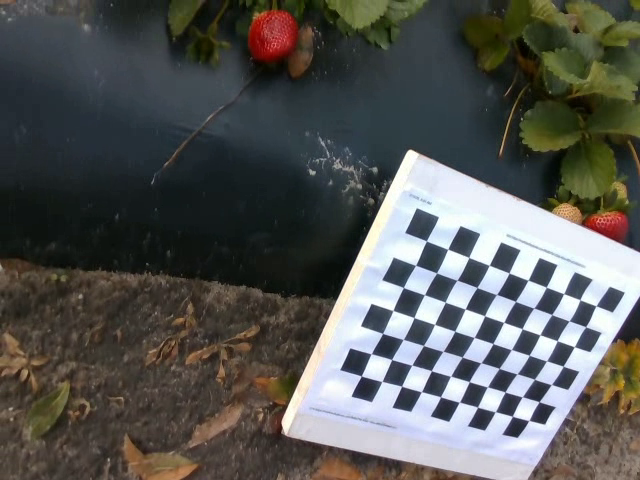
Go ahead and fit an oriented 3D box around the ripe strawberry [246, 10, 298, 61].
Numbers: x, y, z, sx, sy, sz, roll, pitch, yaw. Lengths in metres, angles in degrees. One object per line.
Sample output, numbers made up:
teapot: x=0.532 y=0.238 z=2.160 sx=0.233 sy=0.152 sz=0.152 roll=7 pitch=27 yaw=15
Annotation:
ripe strawberry: x=-0.037 y=-0.169 z=0.541 sx=0.050 sy=0.049 sz=0.053 roll=11 pitch=36 yaw=-24
